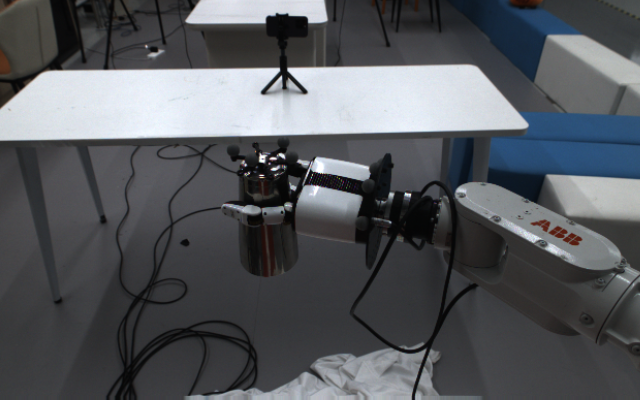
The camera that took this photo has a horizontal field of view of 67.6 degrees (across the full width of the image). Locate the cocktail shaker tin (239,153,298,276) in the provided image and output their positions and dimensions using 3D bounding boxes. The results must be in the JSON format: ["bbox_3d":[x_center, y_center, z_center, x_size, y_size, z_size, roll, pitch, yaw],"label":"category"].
[{"bbox_3d":[-0.075,0.017,0.706,0.093,0.170,0.093,1,39,-1],"label":"cocktail shaker tin"}]
